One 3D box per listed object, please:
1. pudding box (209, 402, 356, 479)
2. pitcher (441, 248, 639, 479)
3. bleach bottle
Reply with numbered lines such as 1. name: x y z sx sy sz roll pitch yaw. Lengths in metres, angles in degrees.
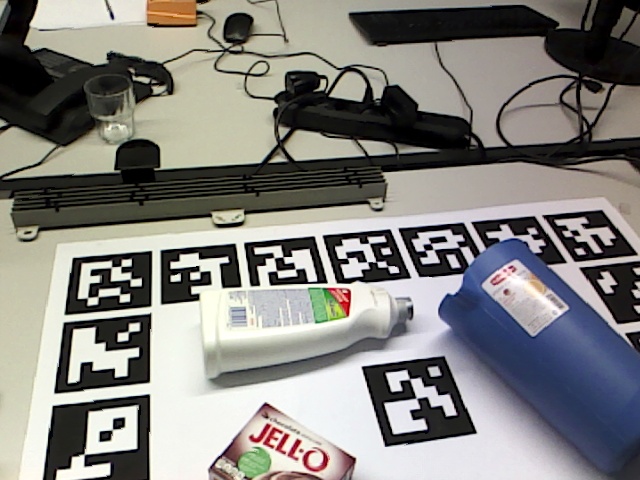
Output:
1. pudding box: -0.037 0.223 0.600 0.114 0.038 0.090 29 42 22
2. pitcher: 0.266 0.135 0.687 0.187 0.133 0.244 8 34 -51
3. bleach bottle: -0.010 0.095 0.731 0.250 0.068 0.103 -6 48 -13
